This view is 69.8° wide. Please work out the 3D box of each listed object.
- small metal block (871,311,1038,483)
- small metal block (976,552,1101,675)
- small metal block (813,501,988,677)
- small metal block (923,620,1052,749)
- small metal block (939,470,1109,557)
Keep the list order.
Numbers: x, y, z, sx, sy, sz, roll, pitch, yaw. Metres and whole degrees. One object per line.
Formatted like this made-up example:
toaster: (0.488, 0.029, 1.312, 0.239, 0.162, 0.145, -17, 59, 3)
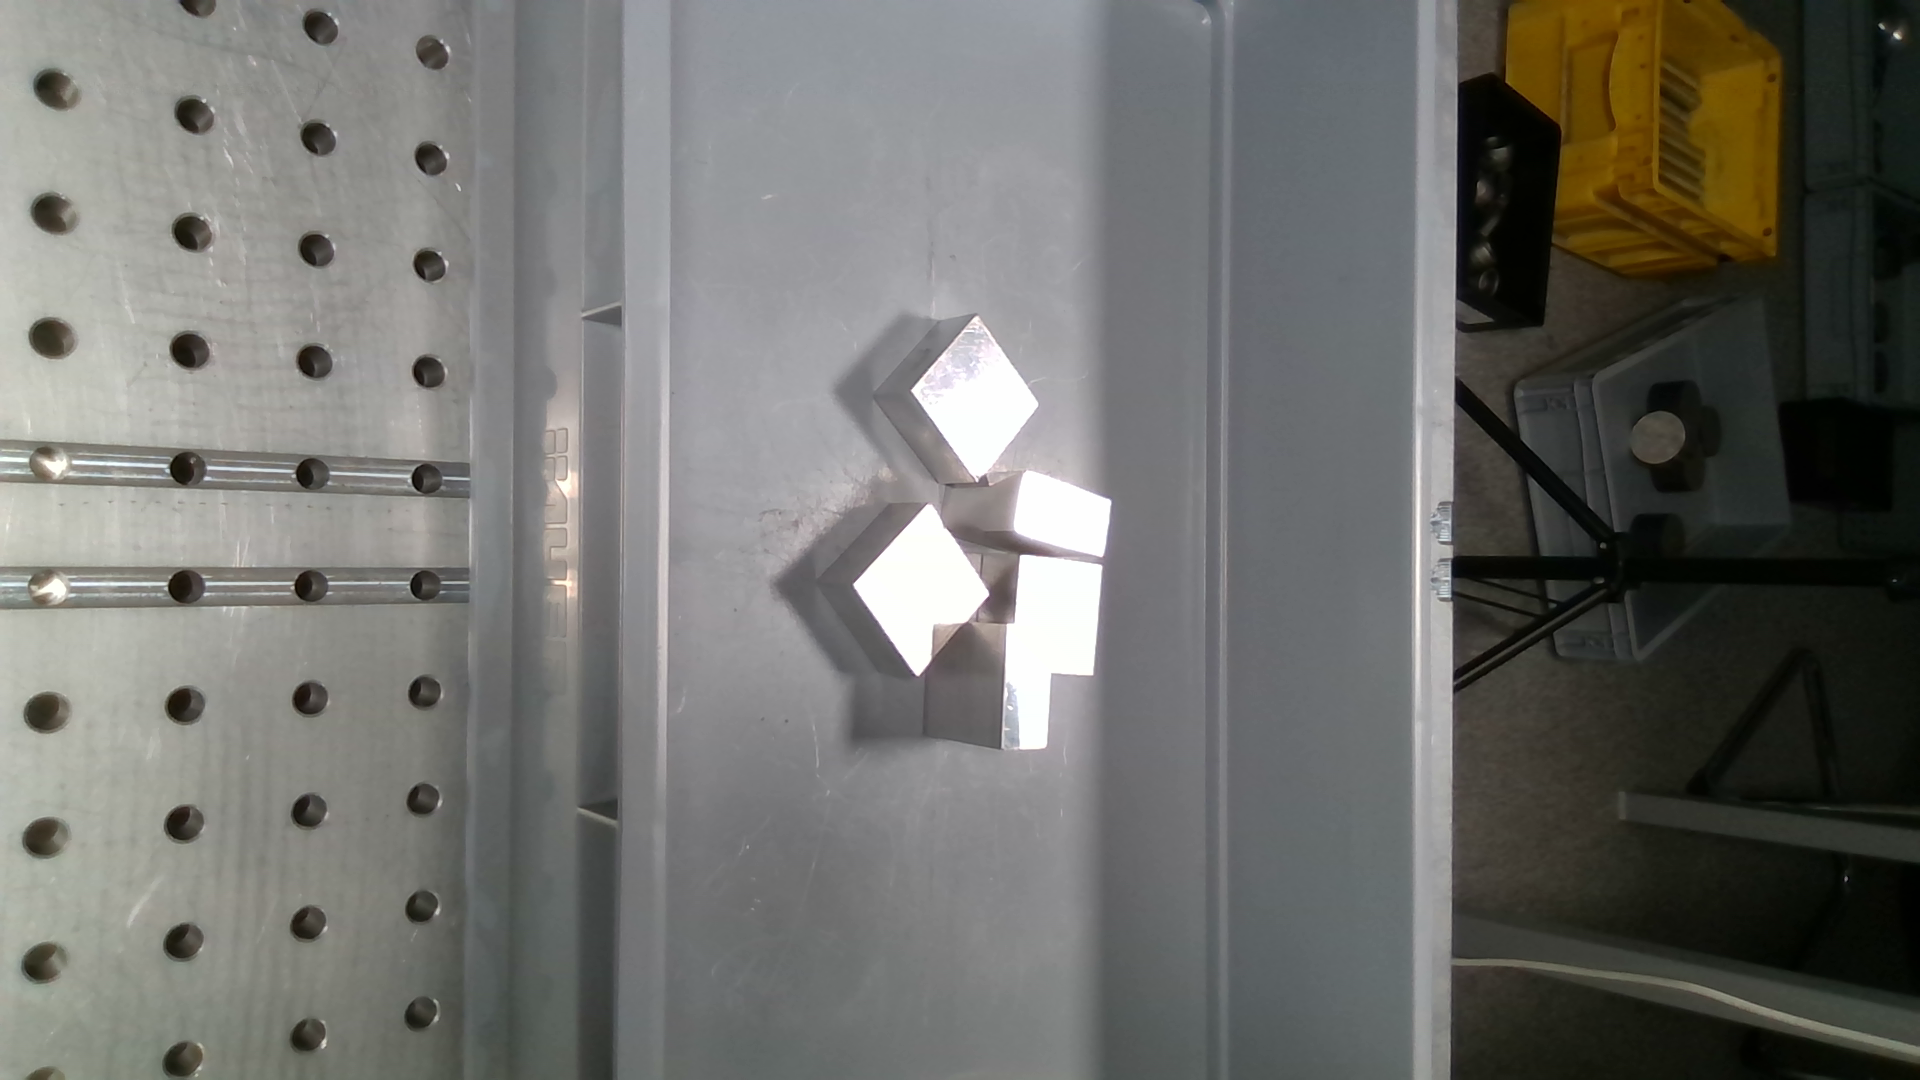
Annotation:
small metal block: (-0.001, -0.060, 0.580, 0.050, 0.025, 0.050, -53, 121, -27)
small metal block: (0.034, 0.033, 0.610, 0.050, 0.025, 0.050, 8, 85, -40)
small metal block: (-0.023, 0.020, 0.561, 0.050, 0.025, 0.050, -48, 119, -29)
small metal block: (0.011, 0.059, 0.574, 0.025, 0.050, 0.050, 4, 88, -40)
small metal block: (0.027, -0.010, 0.587, 0.050, 0.050, 0.025, 16, 80, -39)
